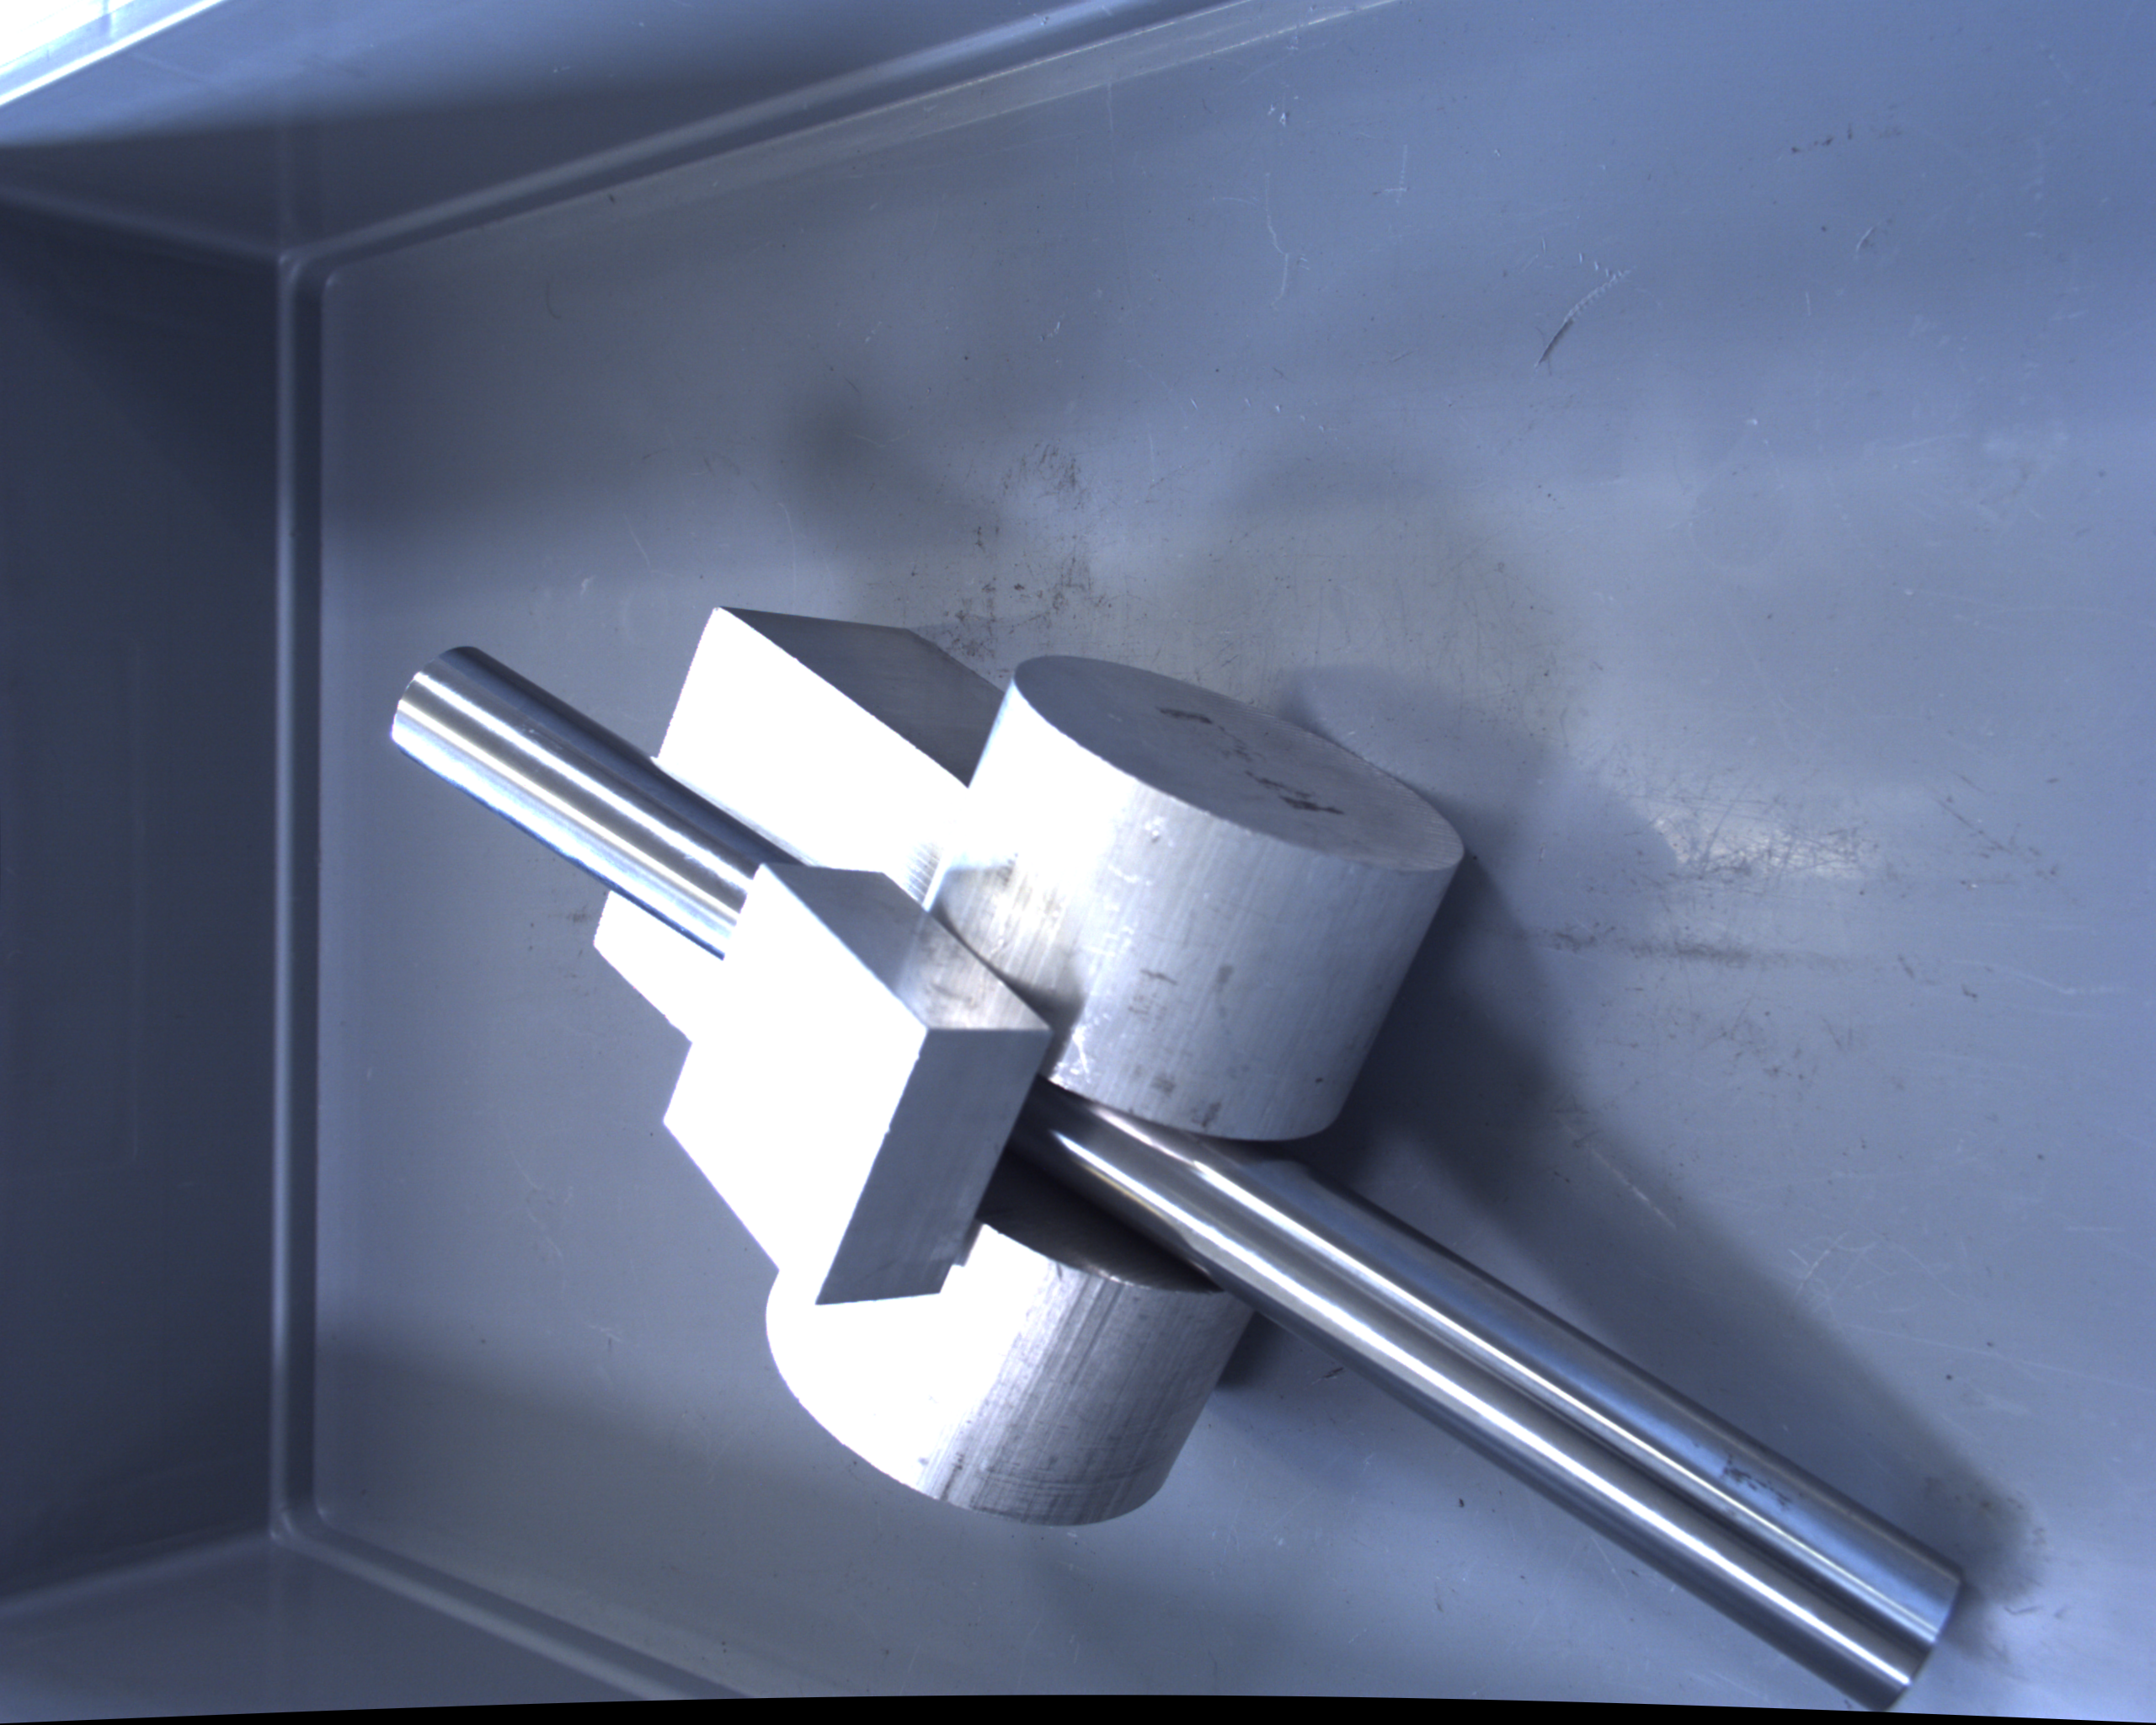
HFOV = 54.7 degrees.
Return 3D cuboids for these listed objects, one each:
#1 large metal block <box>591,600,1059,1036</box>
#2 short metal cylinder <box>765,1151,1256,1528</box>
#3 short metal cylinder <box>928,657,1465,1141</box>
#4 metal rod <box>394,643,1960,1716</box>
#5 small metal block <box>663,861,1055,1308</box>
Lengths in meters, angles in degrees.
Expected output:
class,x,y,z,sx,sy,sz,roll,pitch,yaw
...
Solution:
class,x,y,z,sx,sy,sz,roll,pitch,yaw
large metal block,-0.044,0.002,0.422,0.080,0.050,0.079,36,112,34
short metal cylinder,-0.010,0.072,0.376,0.080,0.081,0.050,37,113,34
short metal cylinder,0.018,0.004,0.355,0.080,0.081,0.050,35,111,34
metal rod,0.000,0.041,0.353,0.300,0.025,0.025,31,110,19
small metal block,-0.036,0.034,0.332,0.050,0.025,0.050,40,115,42
